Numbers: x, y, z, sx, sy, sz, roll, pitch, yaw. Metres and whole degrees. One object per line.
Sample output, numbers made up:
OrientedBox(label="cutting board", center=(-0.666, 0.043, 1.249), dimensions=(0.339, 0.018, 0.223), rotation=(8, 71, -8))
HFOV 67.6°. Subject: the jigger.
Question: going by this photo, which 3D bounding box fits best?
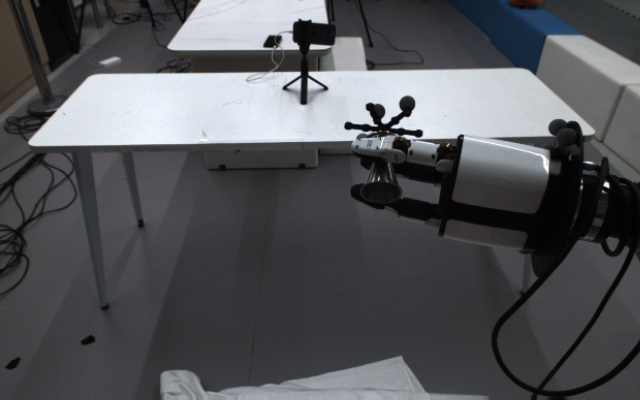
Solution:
OrientedBox(label="jigger", center=(0.065, -0.038, 0.529), dimensions=(0.043, 0.043, 0.071), rotation=(5, 60, 5))
